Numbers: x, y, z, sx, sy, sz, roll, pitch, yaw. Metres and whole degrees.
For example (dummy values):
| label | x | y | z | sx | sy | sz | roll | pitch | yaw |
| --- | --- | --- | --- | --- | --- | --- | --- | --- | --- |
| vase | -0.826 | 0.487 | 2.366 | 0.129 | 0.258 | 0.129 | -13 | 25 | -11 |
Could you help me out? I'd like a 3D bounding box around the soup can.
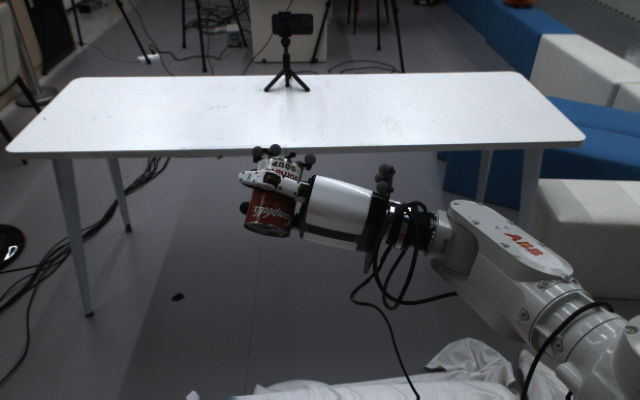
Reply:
| label | x | y | z | sx | sy | sz | roll | pitch | yaw |
| --- | --- | --- | --- | --- | --- | --- | --- | --- | --- |
| soup can | -0.066 | -0.003 | 0.694 | 0.067 | 0.067 | 0.101 | 8 | 72 | 9 |
